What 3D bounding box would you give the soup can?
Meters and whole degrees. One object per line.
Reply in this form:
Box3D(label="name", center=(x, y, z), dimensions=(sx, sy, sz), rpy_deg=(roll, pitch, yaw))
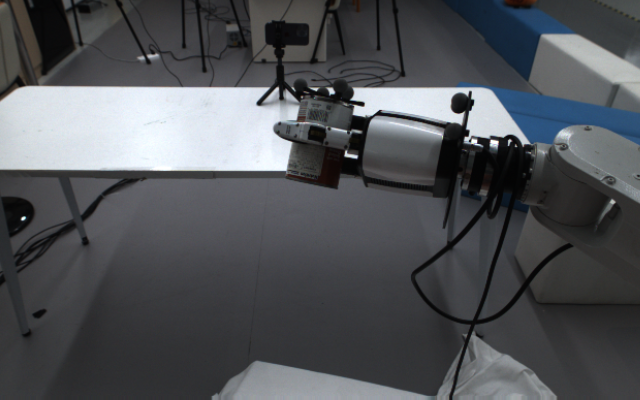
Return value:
Box3D(label="soup can", center=(0.000, -0.069, 0.592), dimensions=(0.067, 0.101, 0.067), rpy_deg=(11, 2, 0))
